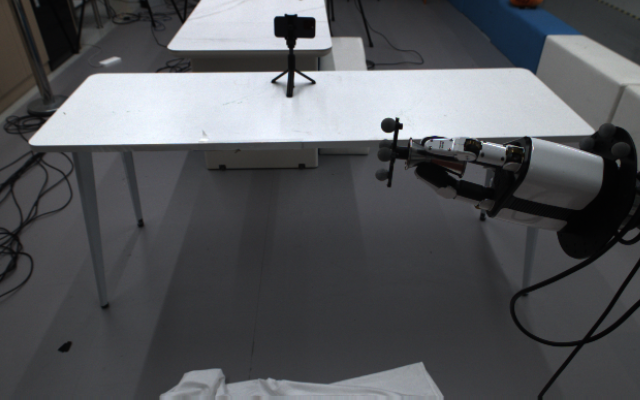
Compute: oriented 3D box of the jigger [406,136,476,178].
[{"bbox_3d":[0.147,-0.057,0.593,0.071,0.043,0.043,6,35,4],"label":"jigger"}]
